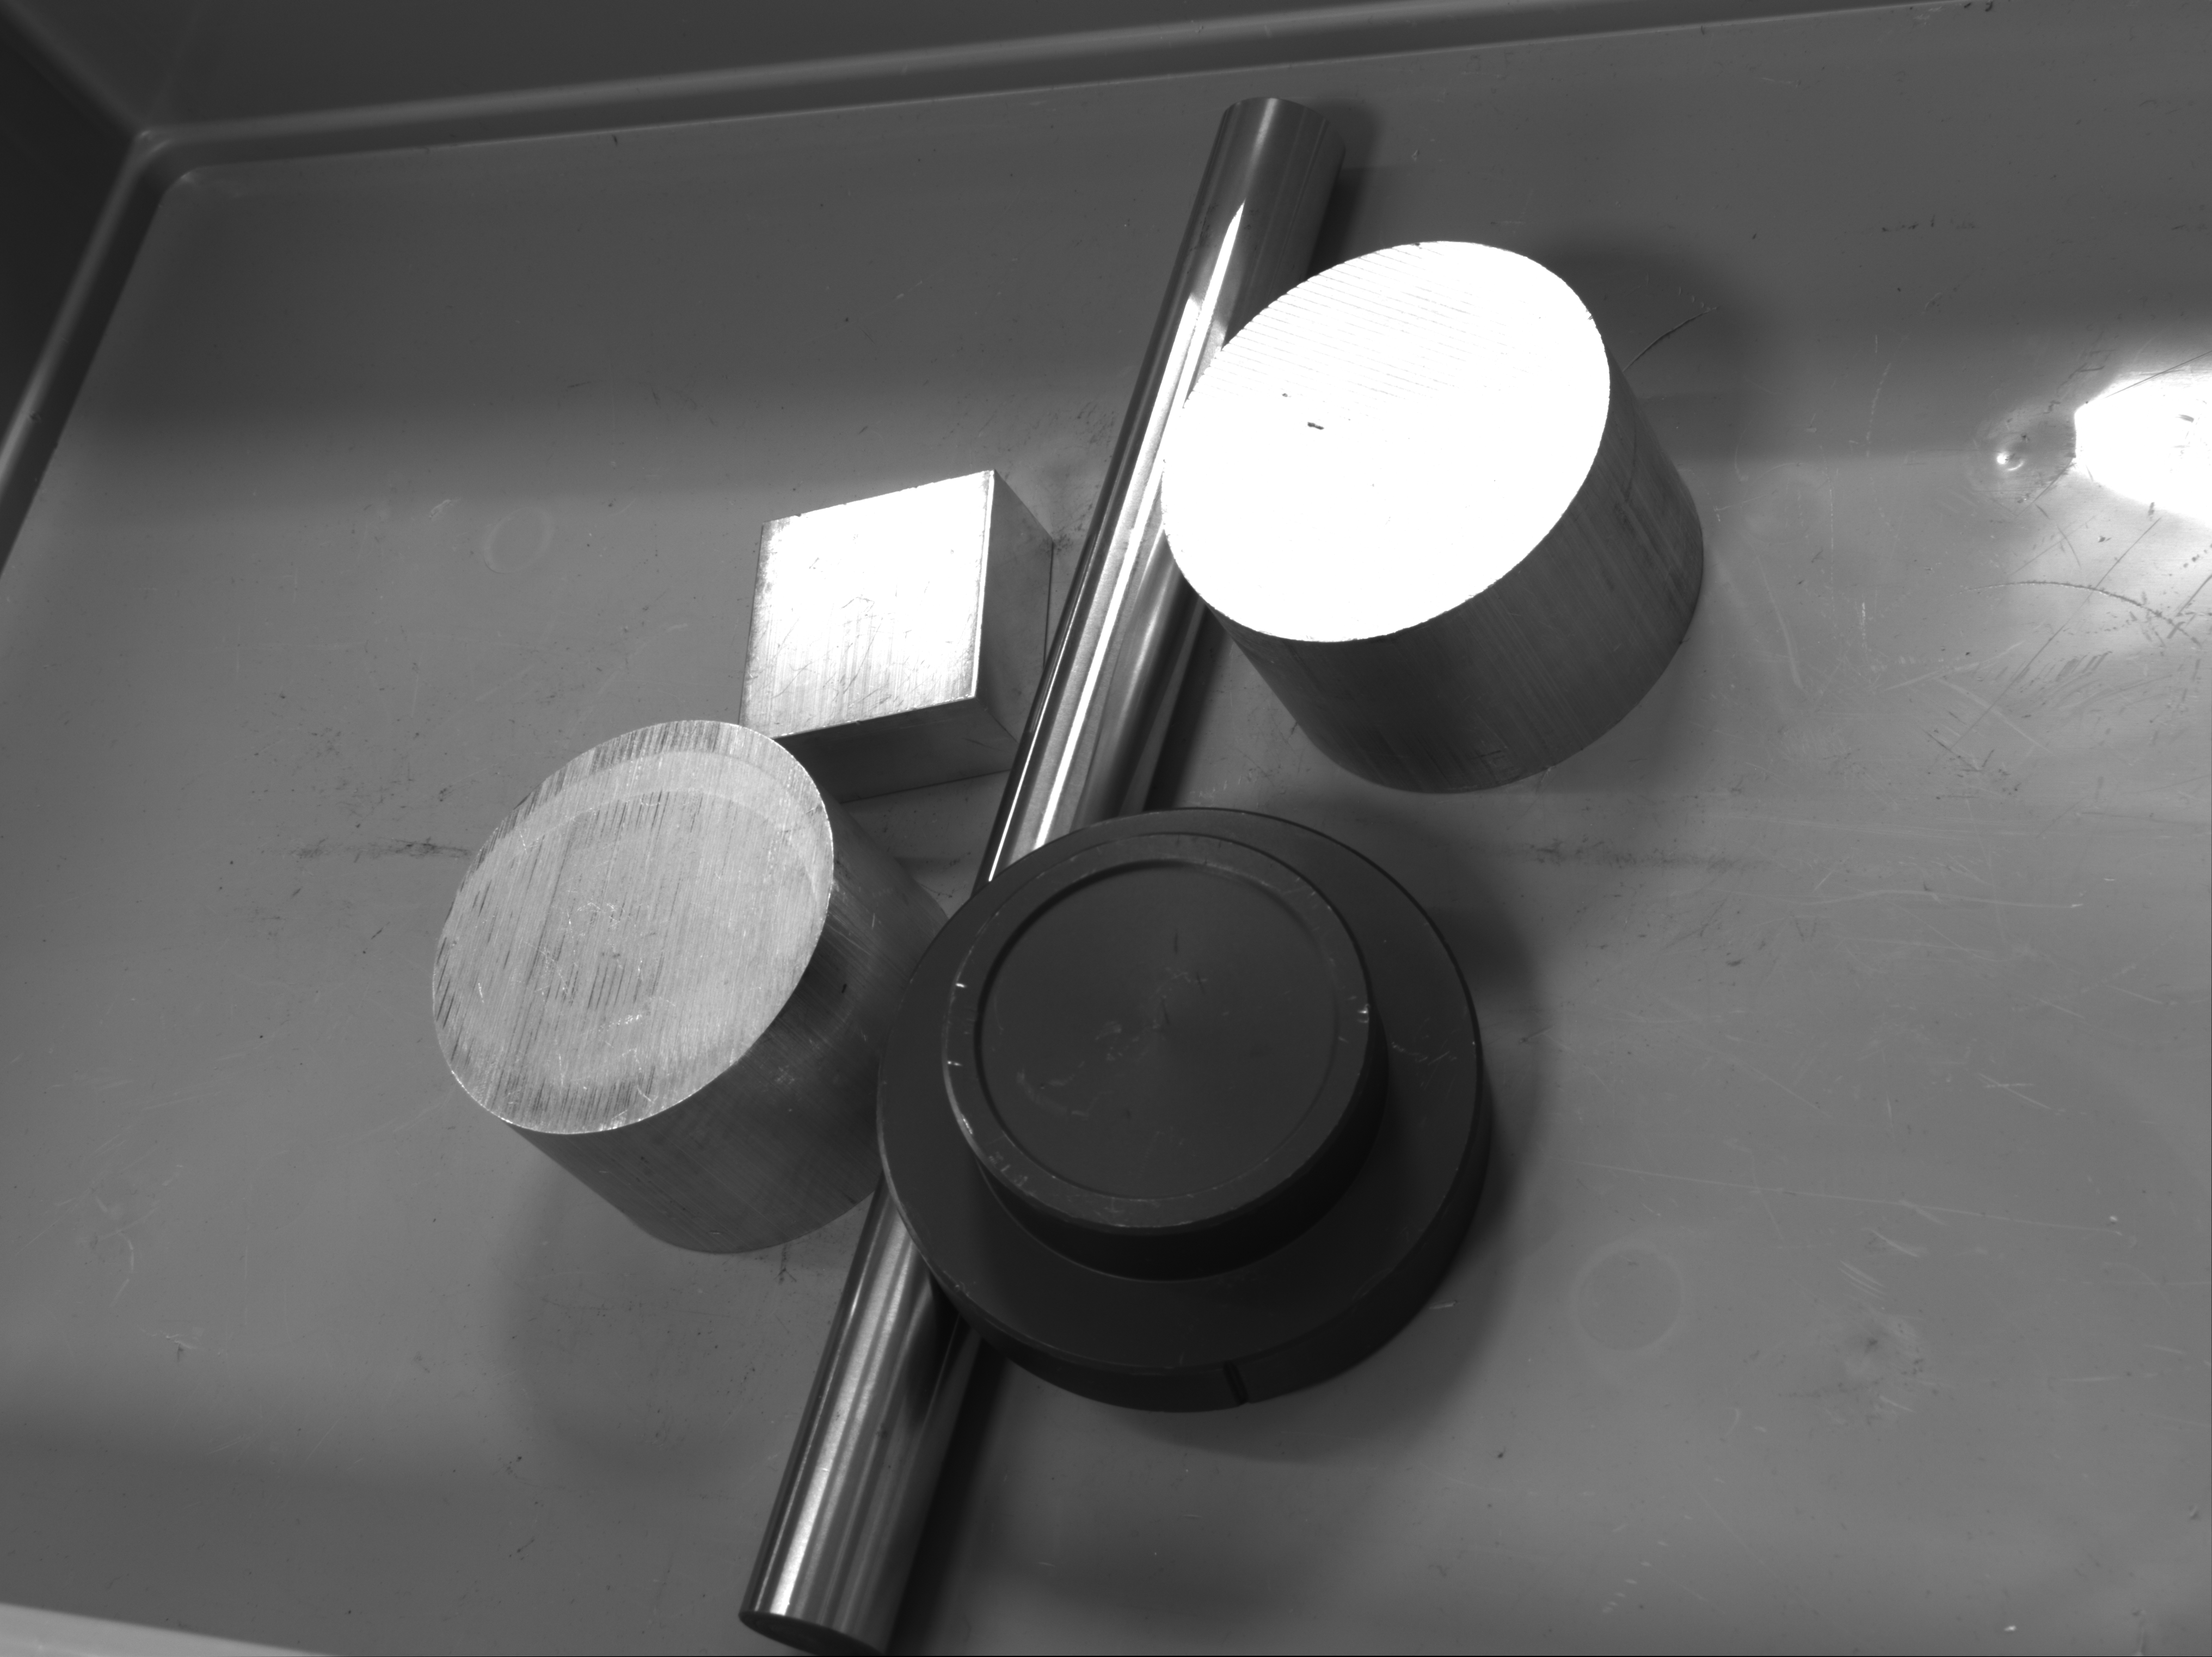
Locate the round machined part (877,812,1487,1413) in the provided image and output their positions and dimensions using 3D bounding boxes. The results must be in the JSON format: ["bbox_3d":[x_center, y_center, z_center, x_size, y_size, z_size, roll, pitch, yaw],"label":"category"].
[{"bbox_3d":[0.011,0.040,0.586,0.098,0.042,0.098,-4,61,8],"label":"round machined part"}]

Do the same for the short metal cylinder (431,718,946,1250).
[{"bbox_3d":[-0.071,0.028,0.649,0.080,0.050,0.080,-14,56,21],"label":"short metal cylinder"}]

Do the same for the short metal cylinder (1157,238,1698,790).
[{"bbox_3d":[0.056,-0.054,0.630,0.080,0.050,0.080,-14,56,21],"label":"short metal cylinder"}]

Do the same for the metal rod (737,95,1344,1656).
[{"bbox_3d":[-0.007,-0.002,0.648,0.025,0.025,0.300,3,63,30],"label":"metal rod"}]

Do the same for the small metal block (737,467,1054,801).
[{"bbox_3d":[-0.039,-0.035,0.686,0.050,0.025,0.050,-11,57,23],"label":"small metal block"}]
